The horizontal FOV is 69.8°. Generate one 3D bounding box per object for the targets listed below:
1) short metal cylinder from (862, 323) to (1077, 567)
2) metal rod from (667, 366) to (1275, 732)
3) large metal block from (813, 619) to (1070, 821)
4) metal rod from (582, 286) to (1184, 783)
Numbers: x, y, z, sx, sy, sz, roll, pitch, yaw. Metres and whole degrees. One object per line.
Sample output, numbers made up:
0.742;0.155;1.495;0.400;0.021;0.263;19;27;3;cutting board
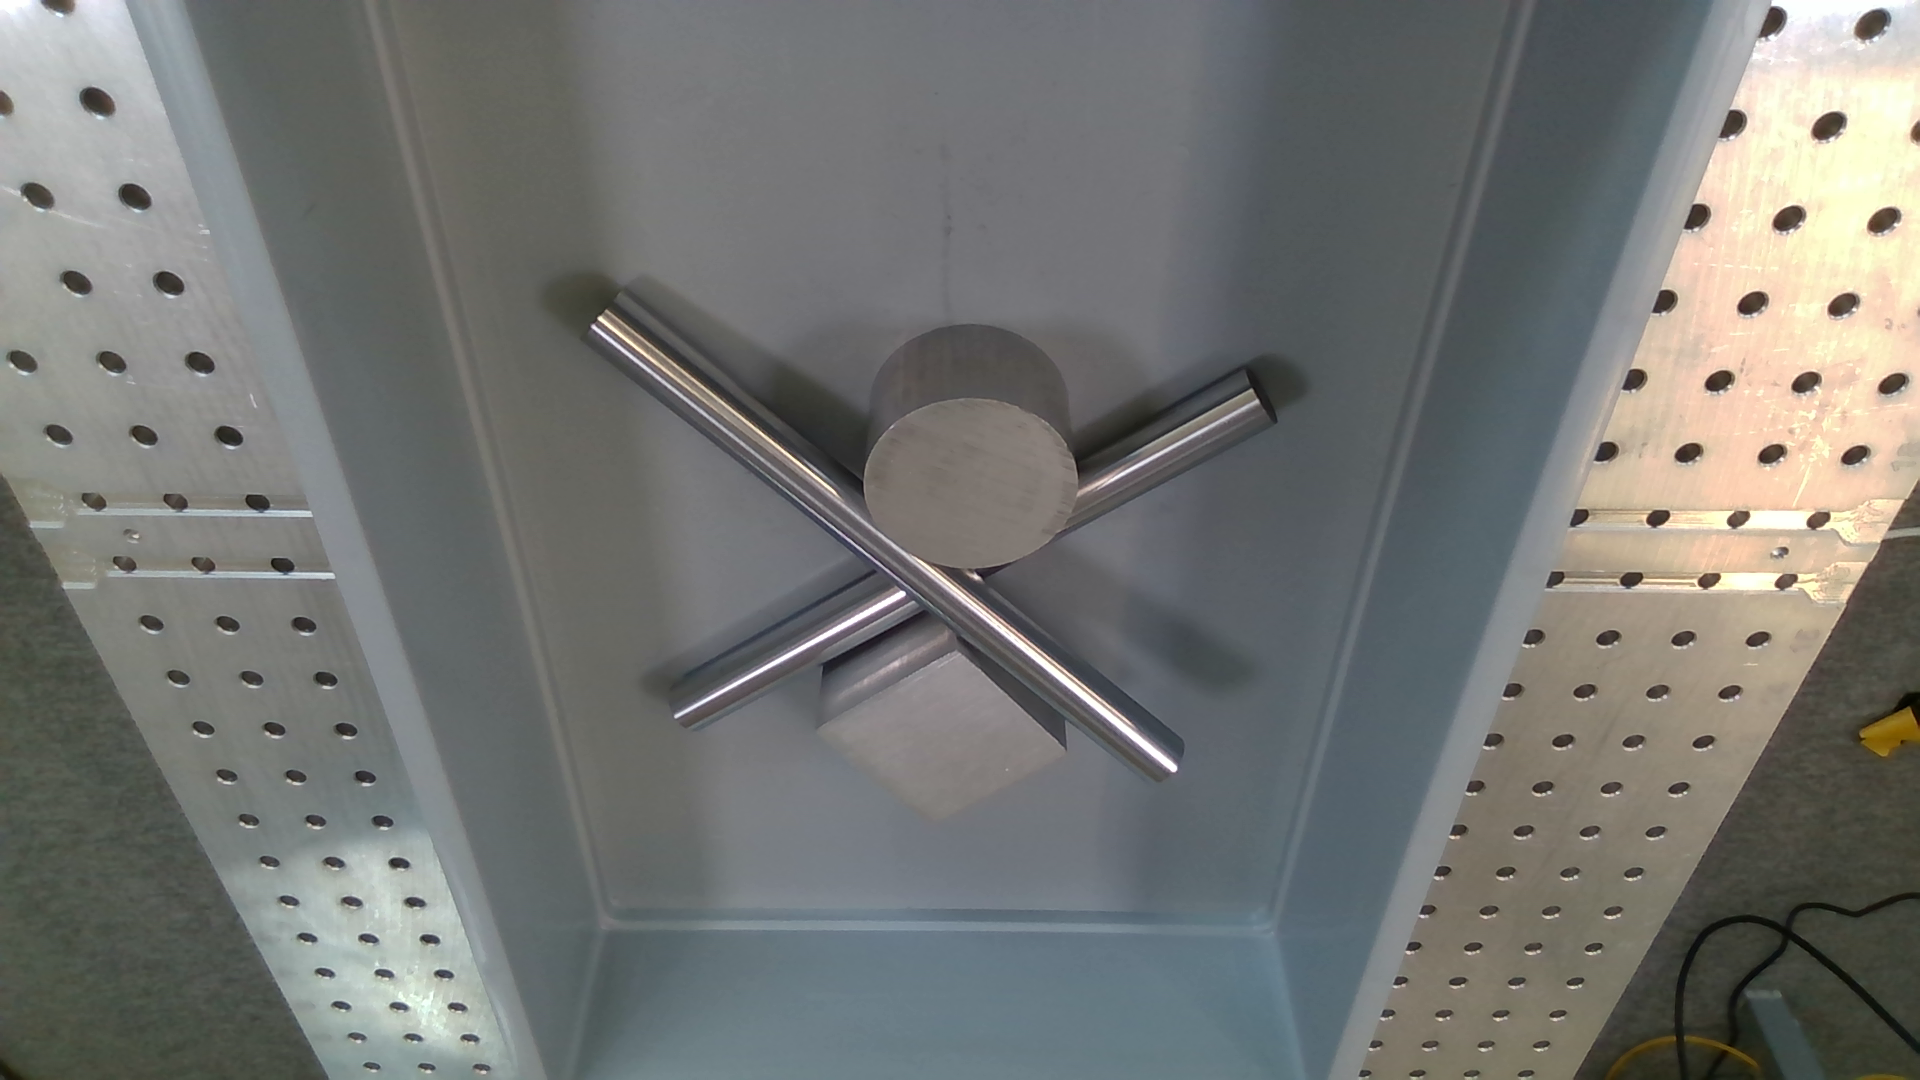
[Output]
0.003;-0.036;0.532;0.080;0.050;0.080;0;130;0;short metal cylinder
-0.006;0.011;0.586;0.300;0.025;0.025;-29;124;22;metal rod
-0.008;0.071;0.621;0.080;0.050;0.080;-31;123;24;large metal block
-0.022;0.006;0.556;0.300;0.025;0.025;39;120;-18;metal rod
